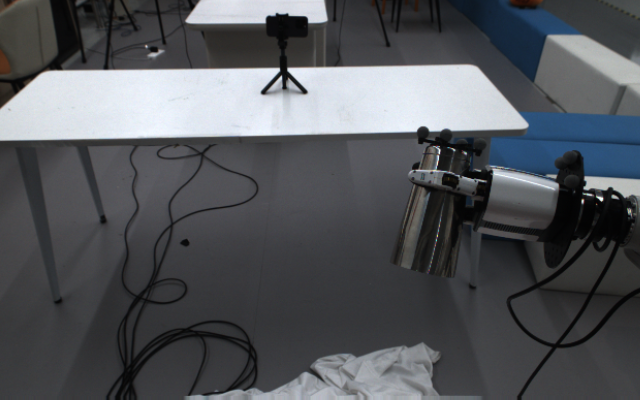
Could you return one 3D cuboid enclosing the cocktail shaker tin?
[{"bbox_3d":[0.165,0.011,0.682,0.093,0.170,0.093,13,1,0],"label":"cocktail shaker tin"}]
